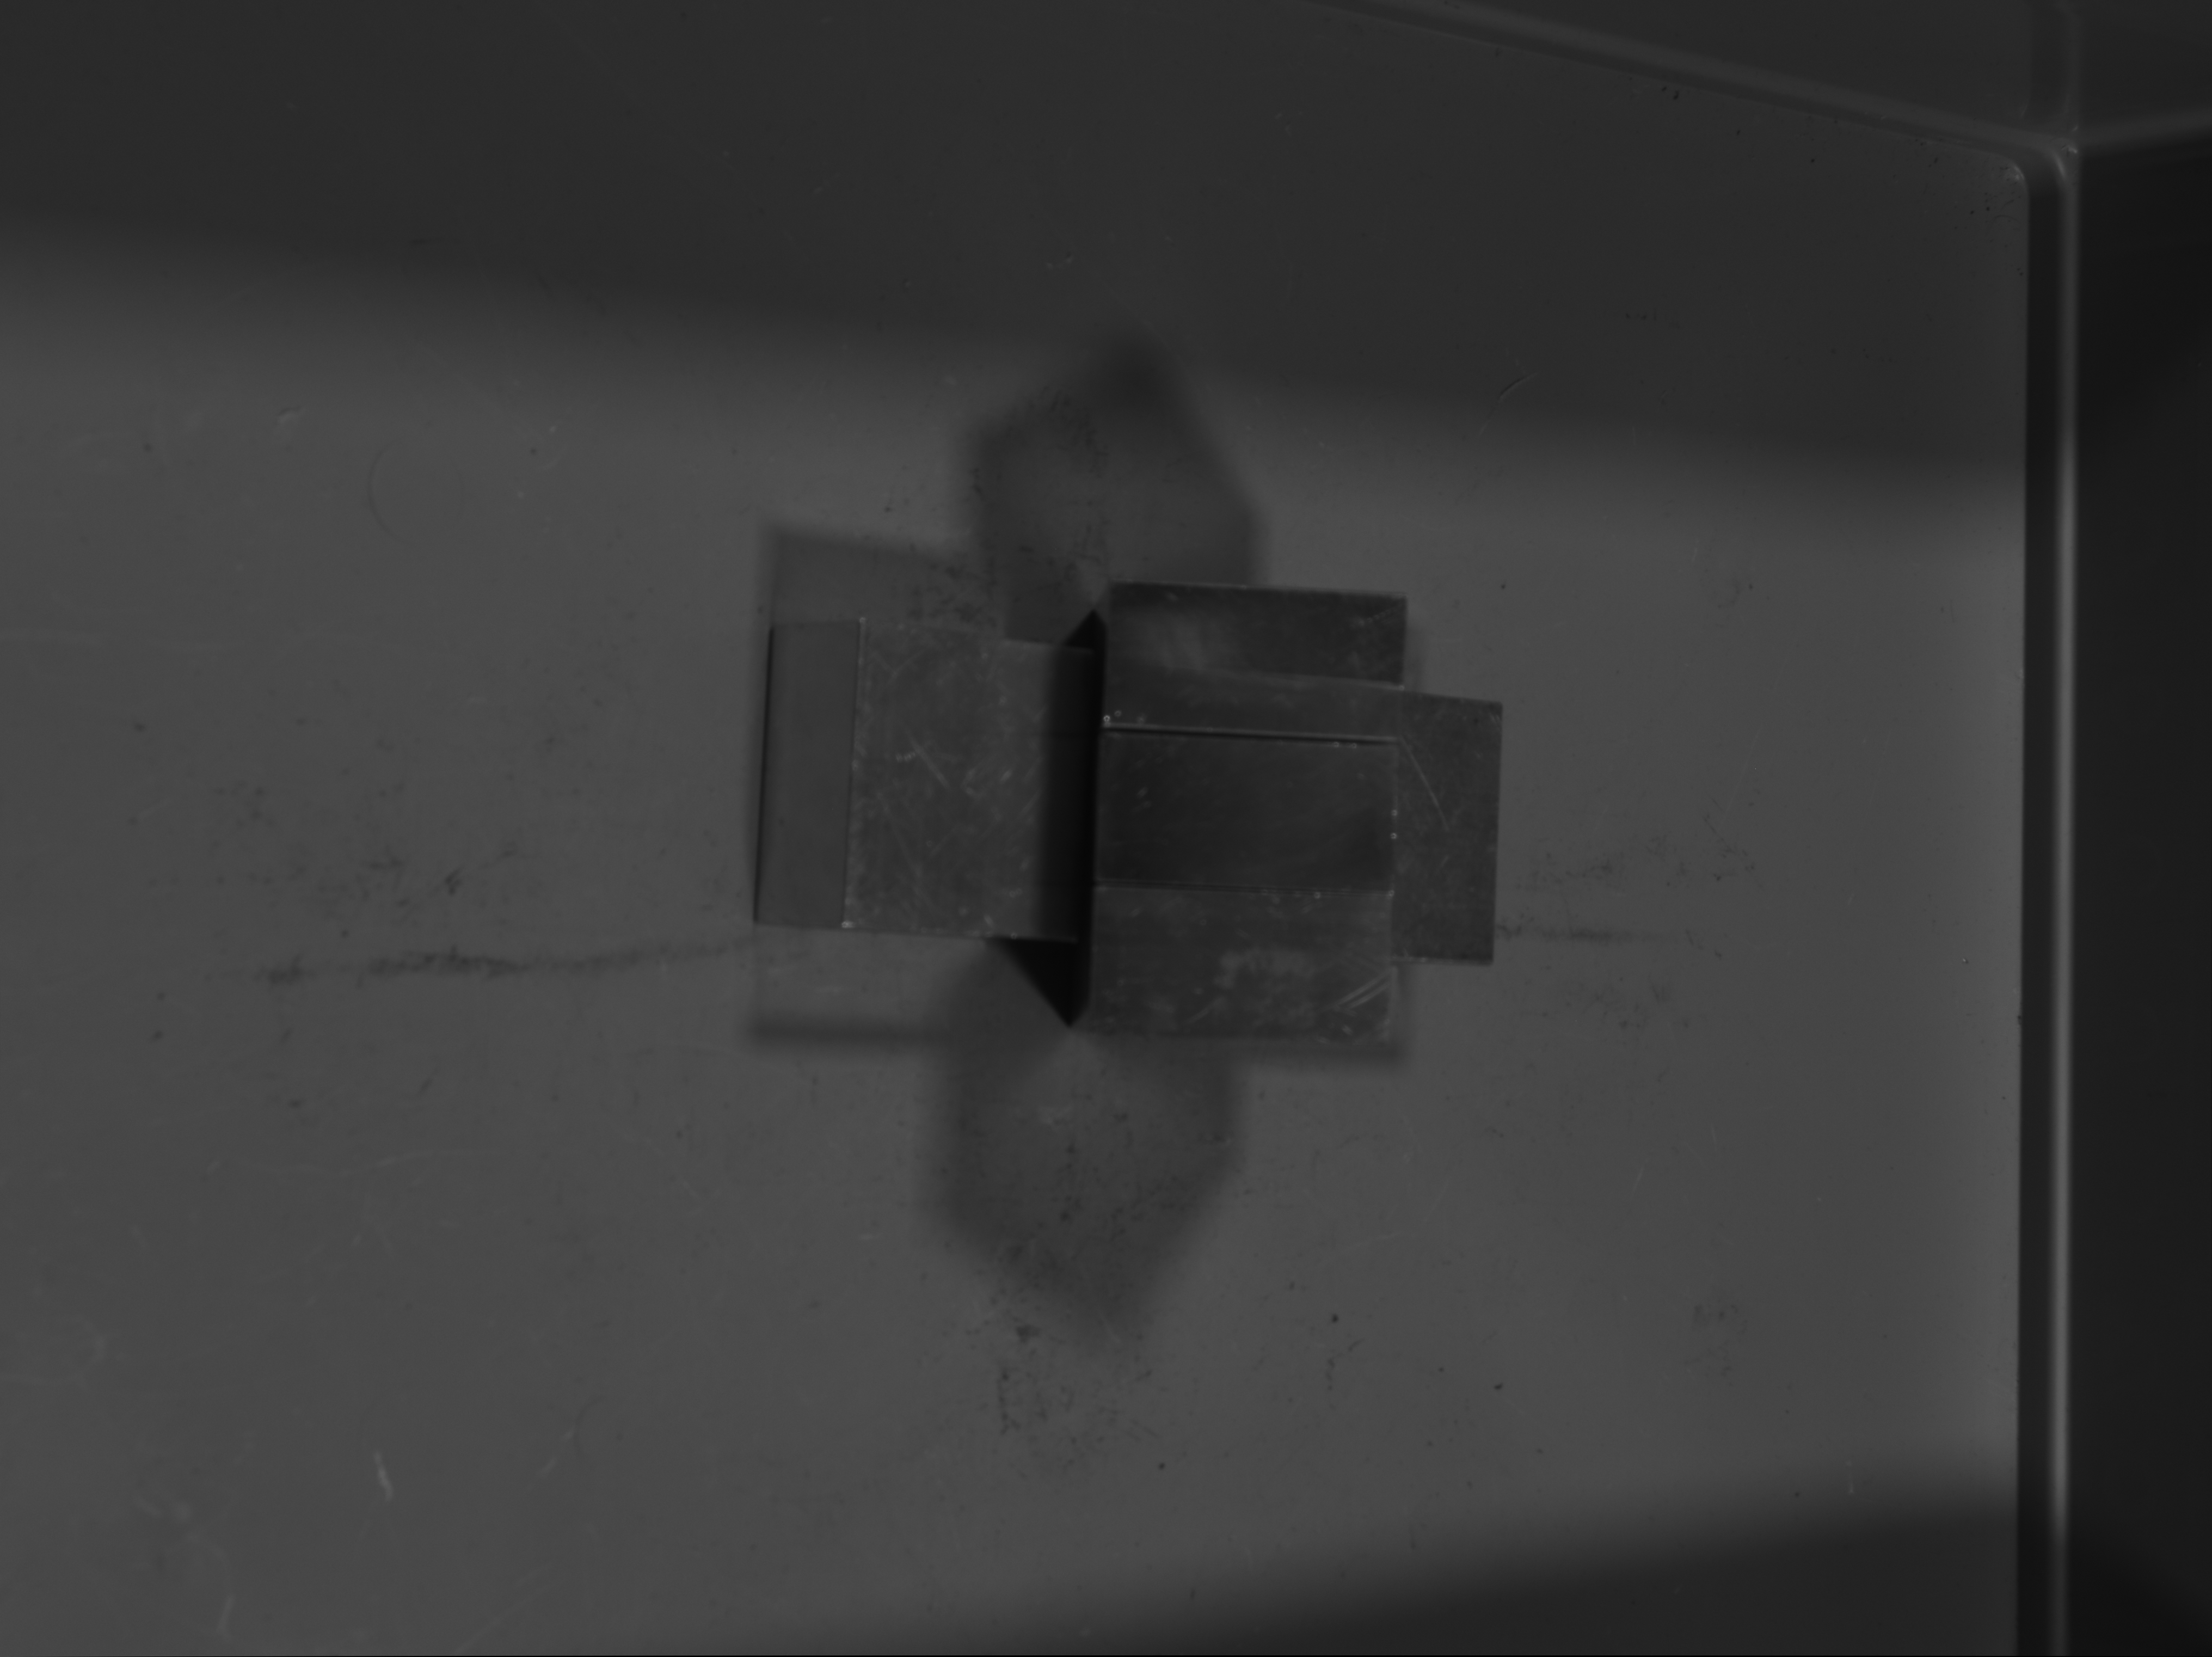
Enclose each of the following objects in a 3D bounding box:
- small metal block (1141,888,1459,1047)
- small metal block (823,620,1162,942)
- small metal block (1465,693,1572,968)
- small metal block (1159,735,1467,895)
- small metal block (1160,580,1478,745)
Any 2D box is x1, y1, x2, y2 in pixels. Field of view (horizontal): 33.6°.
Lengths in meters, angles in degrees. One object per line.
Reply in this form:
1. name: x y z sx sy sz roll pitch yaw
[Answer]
1. small metal block: 0.032 0.024 0.633 0.050 0.050 0.025 2 88 -3
2. small metal block: -0.019 -0.007 0.620 0.050 0.025 0.050 5 87 -40
3. small metal block: 0.060 0.000 0.686 0.050 0.025 0.050 4 87 -40
4. small metal block: 0.034 -0.001 0.634 0.050 0.050 0.025 2 88 -3
5. small metal block: 0.035 -0.027 0.635 0.050 0.050 0.025 3 87 -3
